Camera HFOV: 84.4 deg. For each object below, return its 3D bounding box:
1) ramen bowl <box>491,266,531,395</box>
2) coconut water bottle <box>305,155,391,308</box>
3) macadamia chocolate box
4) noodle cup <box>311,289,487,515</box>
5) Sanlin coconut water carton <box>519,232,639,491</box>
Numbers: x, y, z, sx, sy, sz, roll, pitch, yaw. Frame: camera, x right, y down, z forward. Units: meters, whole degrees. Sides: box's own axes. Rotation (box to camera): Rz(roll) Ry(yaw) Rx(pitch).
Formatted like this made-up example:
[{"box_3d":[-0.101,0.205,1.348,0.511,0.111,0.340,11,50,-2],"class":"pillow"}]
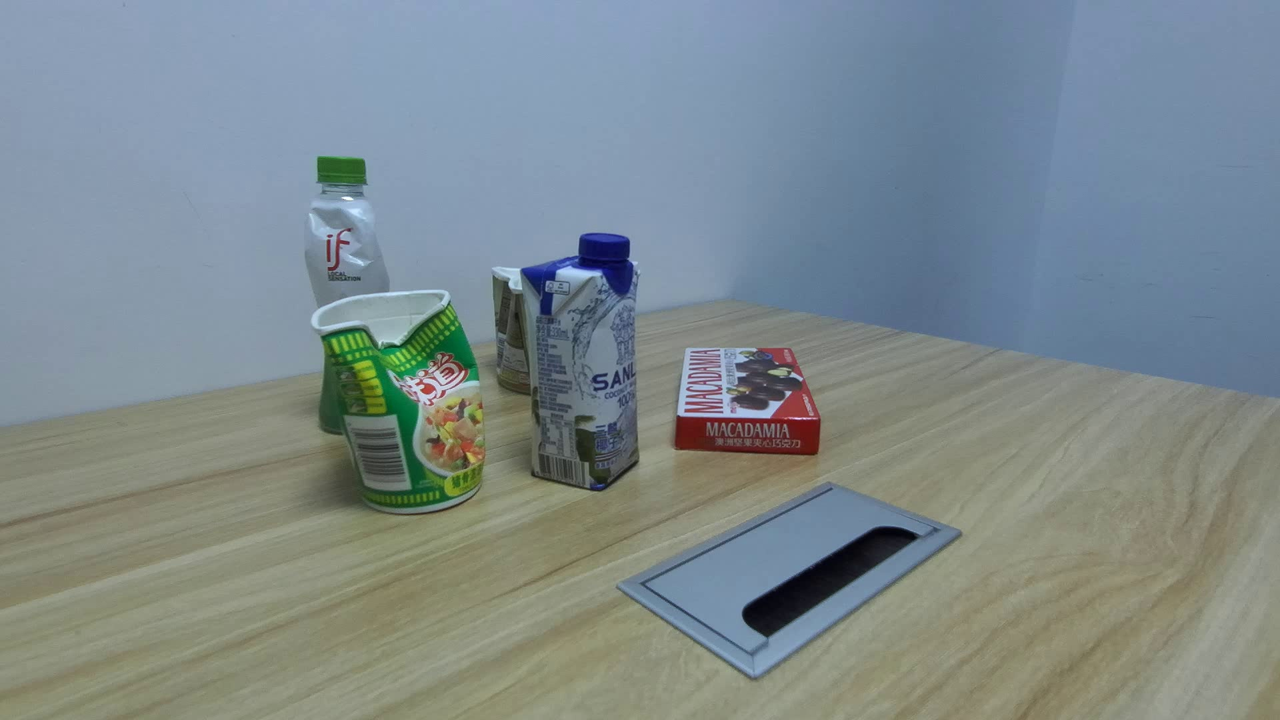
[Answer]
[{"box_3d":[-0.061,-0.031,0.632,0.134,0.097,0.113,-8,17,-27],"class":"ramen bowl"},{"box_3d":[-0.202,-0.046,0.498,0.067,0.187,0.067,0,13,0],"class":"coconut water bottle"},{"box_3d":[0.078,0.025,0.543,0.095,0.027,0.178,1,15,6],"class":"macadamia chocolate box"},{"box_3d":[-0.130,0.021,0.403,0.083,0.122,0.075,-21,17,-30],"class":"noodle cup"},{"box_3d":[-0.033,0.000,0.420,0.060,0.144,0.061,6,16,26],"class":"Sanlin coconut water carton"}]
